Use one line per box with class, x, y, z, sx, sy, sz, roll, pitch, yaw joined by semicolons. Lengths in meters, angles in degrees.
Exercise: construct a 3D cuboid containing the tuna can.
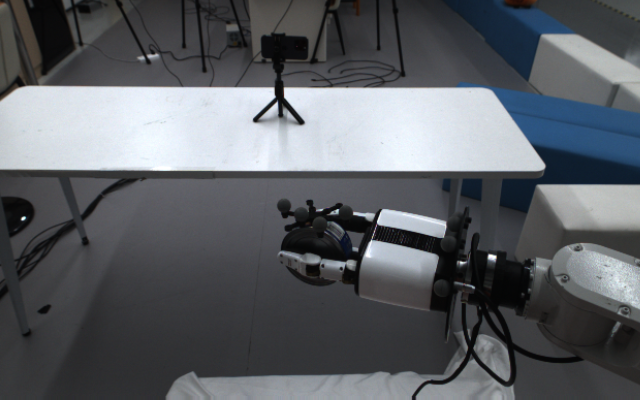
tuna can;-0.001;0.061;0.607;0.085;0.085;0.034;14;29;16
